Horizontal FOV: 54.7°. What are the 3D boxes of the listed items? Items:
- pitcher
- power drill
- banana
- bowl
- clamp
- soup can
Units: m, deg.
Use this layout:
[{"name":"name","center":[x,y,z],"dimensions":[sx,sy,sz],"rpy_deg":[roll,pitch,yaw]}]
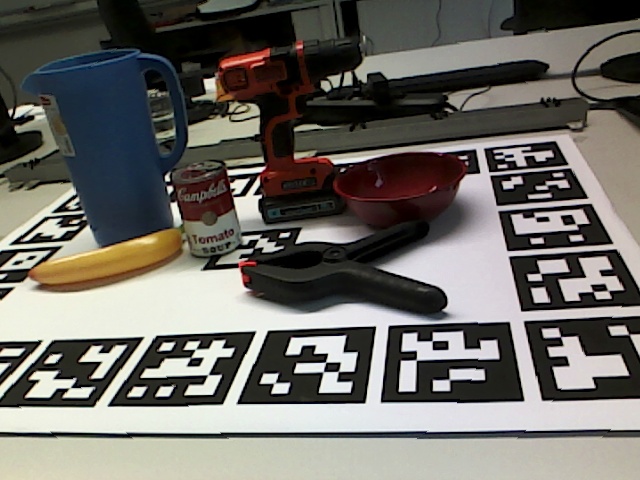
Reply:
[{"name":"pitcher","center":[-0.257,-0.129,0.812],"dimensions":[0.188,0.242,0.134],"rpy_deg":[-16,24,-9]},{"name":"power drill","center":[-0.018,-0.157,0.791],"dimensions":[0.185,0.186,0.057],"rpy_deg":[-7,27,8]},{"name":"banana","center":[-0.260,0.016,0.761],"dimensions":[0.197,0.039,0.074],"rpy_deg":[-15,18,-10]},{"name":"bowl","center":[0.093,-0.065,0.752],"dimensions":[0.162,0.055,0.162],"rpy_deg":[-10,28,5]},{"name":"clamp","center":[0.011,0.017,0.630],"dimensions":[0.203,0.036,0.165],"rpy_deg":[-6,31,11]},{"name":"soup can","center":[-0.137,-0.047,0.761],"dimensions":[0.068,0.102,0.068],"rpy_deg":[-9,18,3]}]
